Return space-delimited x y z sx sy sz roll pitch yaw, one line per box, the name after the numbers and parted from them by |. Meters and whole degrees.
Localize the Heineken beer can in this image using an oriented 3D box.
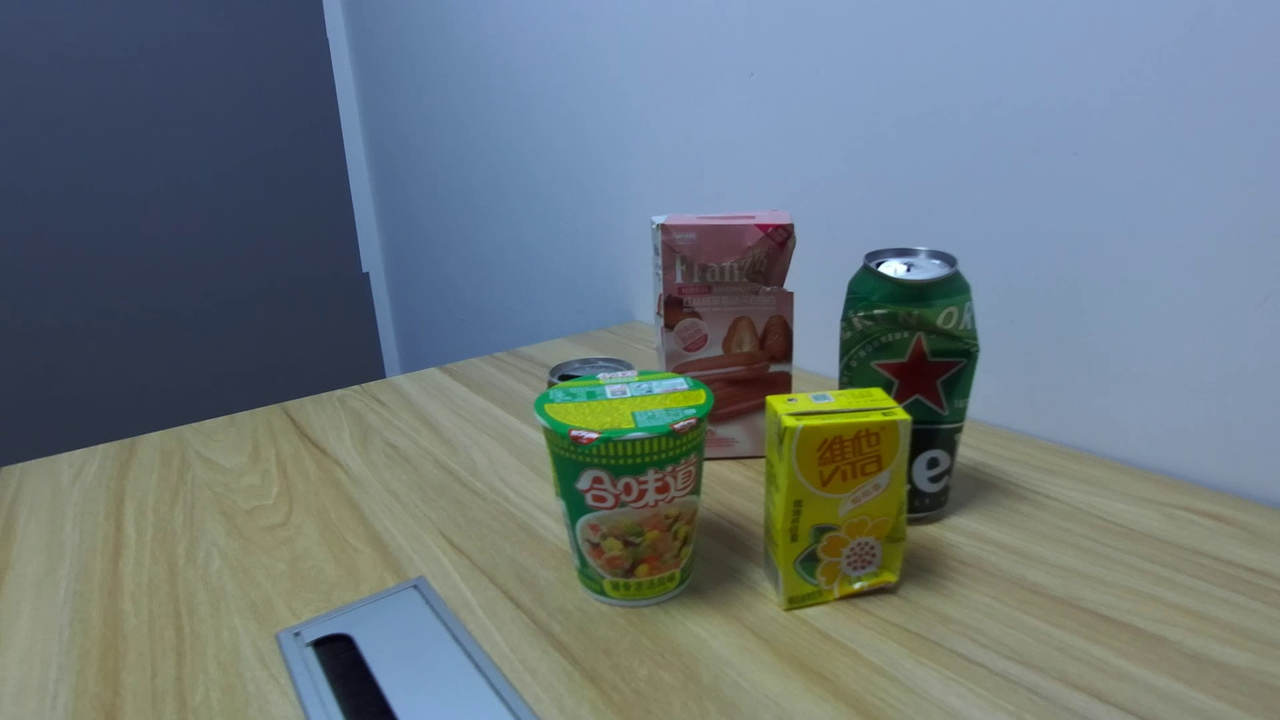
0.164 0.018 0.445 0.069 0.168 0.068 -22 28 -36 | Heineken beer can

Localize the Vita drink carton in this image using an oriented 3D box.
0.107 0.073 0.376 0.076 0.109 0.043 -4 19 -3 | Vita drink carton

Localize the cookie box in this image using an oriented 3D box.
0.064 -0.016 0.537 0.105 0.186 0.059 -2 17 5 | cookie box

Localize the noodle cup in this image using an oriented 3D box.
-0.007 0.072 0.396 0.097 0.110 0.097 -1 18 1 | noodle cup
